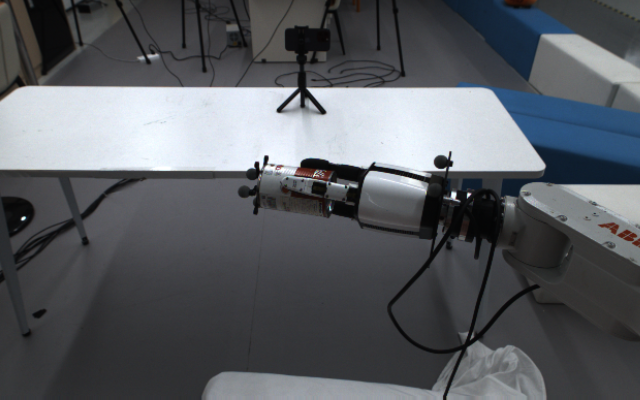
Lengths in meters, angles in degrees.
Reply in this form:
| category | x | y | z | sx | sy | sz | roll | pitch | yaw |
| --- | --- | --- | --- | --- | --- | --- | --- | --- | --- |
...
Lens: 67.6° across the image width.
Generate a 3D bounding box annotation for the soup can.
| category | x | y | z | sx | sy | sz | roll | pitch | yaw |
| --- | --- | --- | --- | --- | --- | --- | --- | --- | --- |
| soup can | -0.030 | -0.015 | 0.694 | 0.101 | 0.067 | 0.067 | 7 | 35 | 11 |
